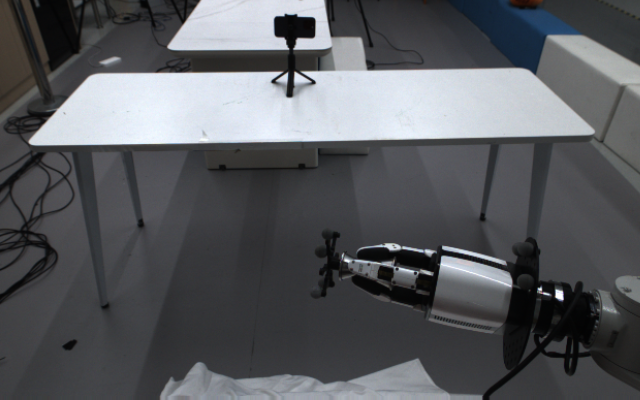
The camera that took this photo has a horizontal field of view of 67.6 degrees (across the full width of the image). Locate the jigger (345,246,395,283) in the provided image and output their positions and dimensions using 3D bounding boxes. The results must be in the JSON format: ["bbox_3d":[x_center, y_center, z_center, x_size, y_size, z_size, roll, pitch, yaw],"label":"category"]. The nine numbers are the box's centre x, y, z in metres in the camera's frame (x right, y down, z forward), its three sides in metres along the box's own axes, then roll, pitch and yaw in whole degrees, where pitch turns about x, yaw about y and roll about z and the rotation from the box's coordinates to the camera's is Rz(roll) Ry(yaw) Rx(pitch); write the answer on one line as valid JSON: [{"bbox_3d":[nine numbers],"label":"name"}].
[{"bbox_3d":[0.068,0.087,0.626,0.071,0.043,0.043,7,35,14],"label":"jigger"}]
